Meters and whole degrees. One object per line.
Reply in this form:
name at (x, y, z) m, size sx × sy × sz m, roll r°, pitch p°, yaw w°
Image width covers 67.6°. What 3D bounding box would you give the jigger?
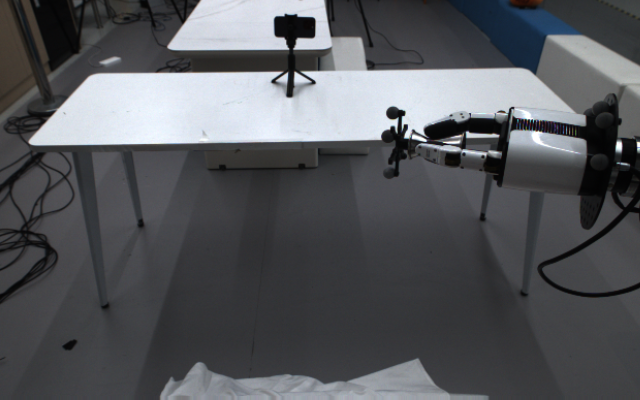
jigger at (0.158, -0.073, 0.632) m, size 0.071 × 0.043 × 0.043 m, roll 7°, pitch 34°, yaw 21°
